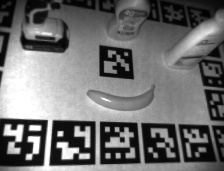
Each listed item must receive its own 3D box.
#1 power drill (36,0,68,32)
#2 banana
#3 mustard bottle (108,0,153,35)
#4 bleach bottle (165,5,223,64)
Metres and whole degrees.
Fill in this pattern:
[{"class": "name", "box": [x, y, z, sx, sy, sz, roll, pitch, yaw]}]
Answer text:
[{"class": "power drill", "box": [-0.116, -0.201, 0.504, 0.186, 0.186, 0.057, -1, 70, -13]}, {"class": "banana", "box": [0.037, 0.007, 0.579, 0.199, 0.039, 0.074, 0, 72, -14]}, {"class": "mustard bottle", "box": [0.059, -0.215, 0.598, 0.097, 0.190, 0.058, -2, 70, -18]}, {"class": "bleach bottle", "box": [0.251, -0.147, 0.596, 0.103, 0.250, 0.068, 13, 66, -11]}]
